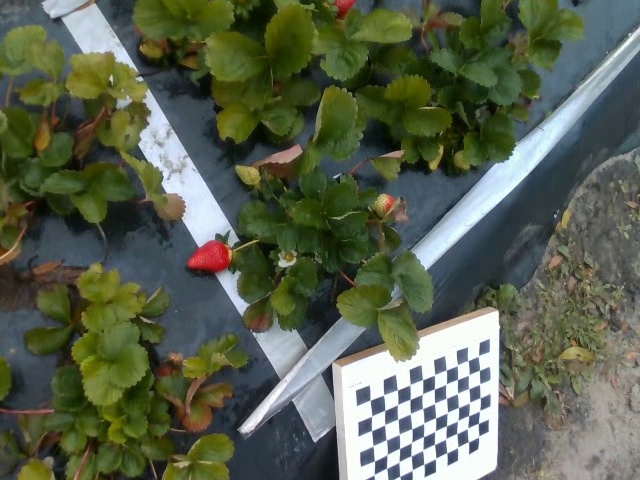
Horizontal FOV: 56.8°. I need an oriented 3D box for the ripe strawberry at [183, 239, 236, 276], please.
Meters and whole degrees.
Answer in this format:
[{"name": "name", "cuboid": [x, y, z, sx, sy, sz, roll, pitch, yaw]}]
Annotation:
[{"name": "ripe strawberry", "cuboid": [-0.124, 0.019, 0.642, 0.051, 0.042, 0.037, -18, 24, -30]}]
